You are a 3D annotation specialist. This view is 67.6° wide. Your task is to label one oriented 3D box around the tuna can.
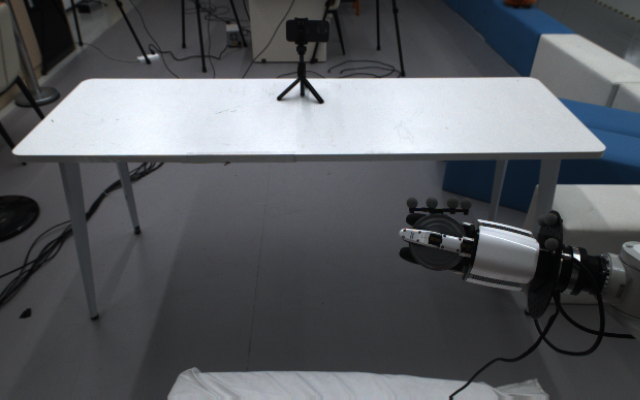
[{"bbox_3d":[0.179,0.062,0.734,0.085,0.085,0.034,14,-3,16],"label":"tuna can"}]
